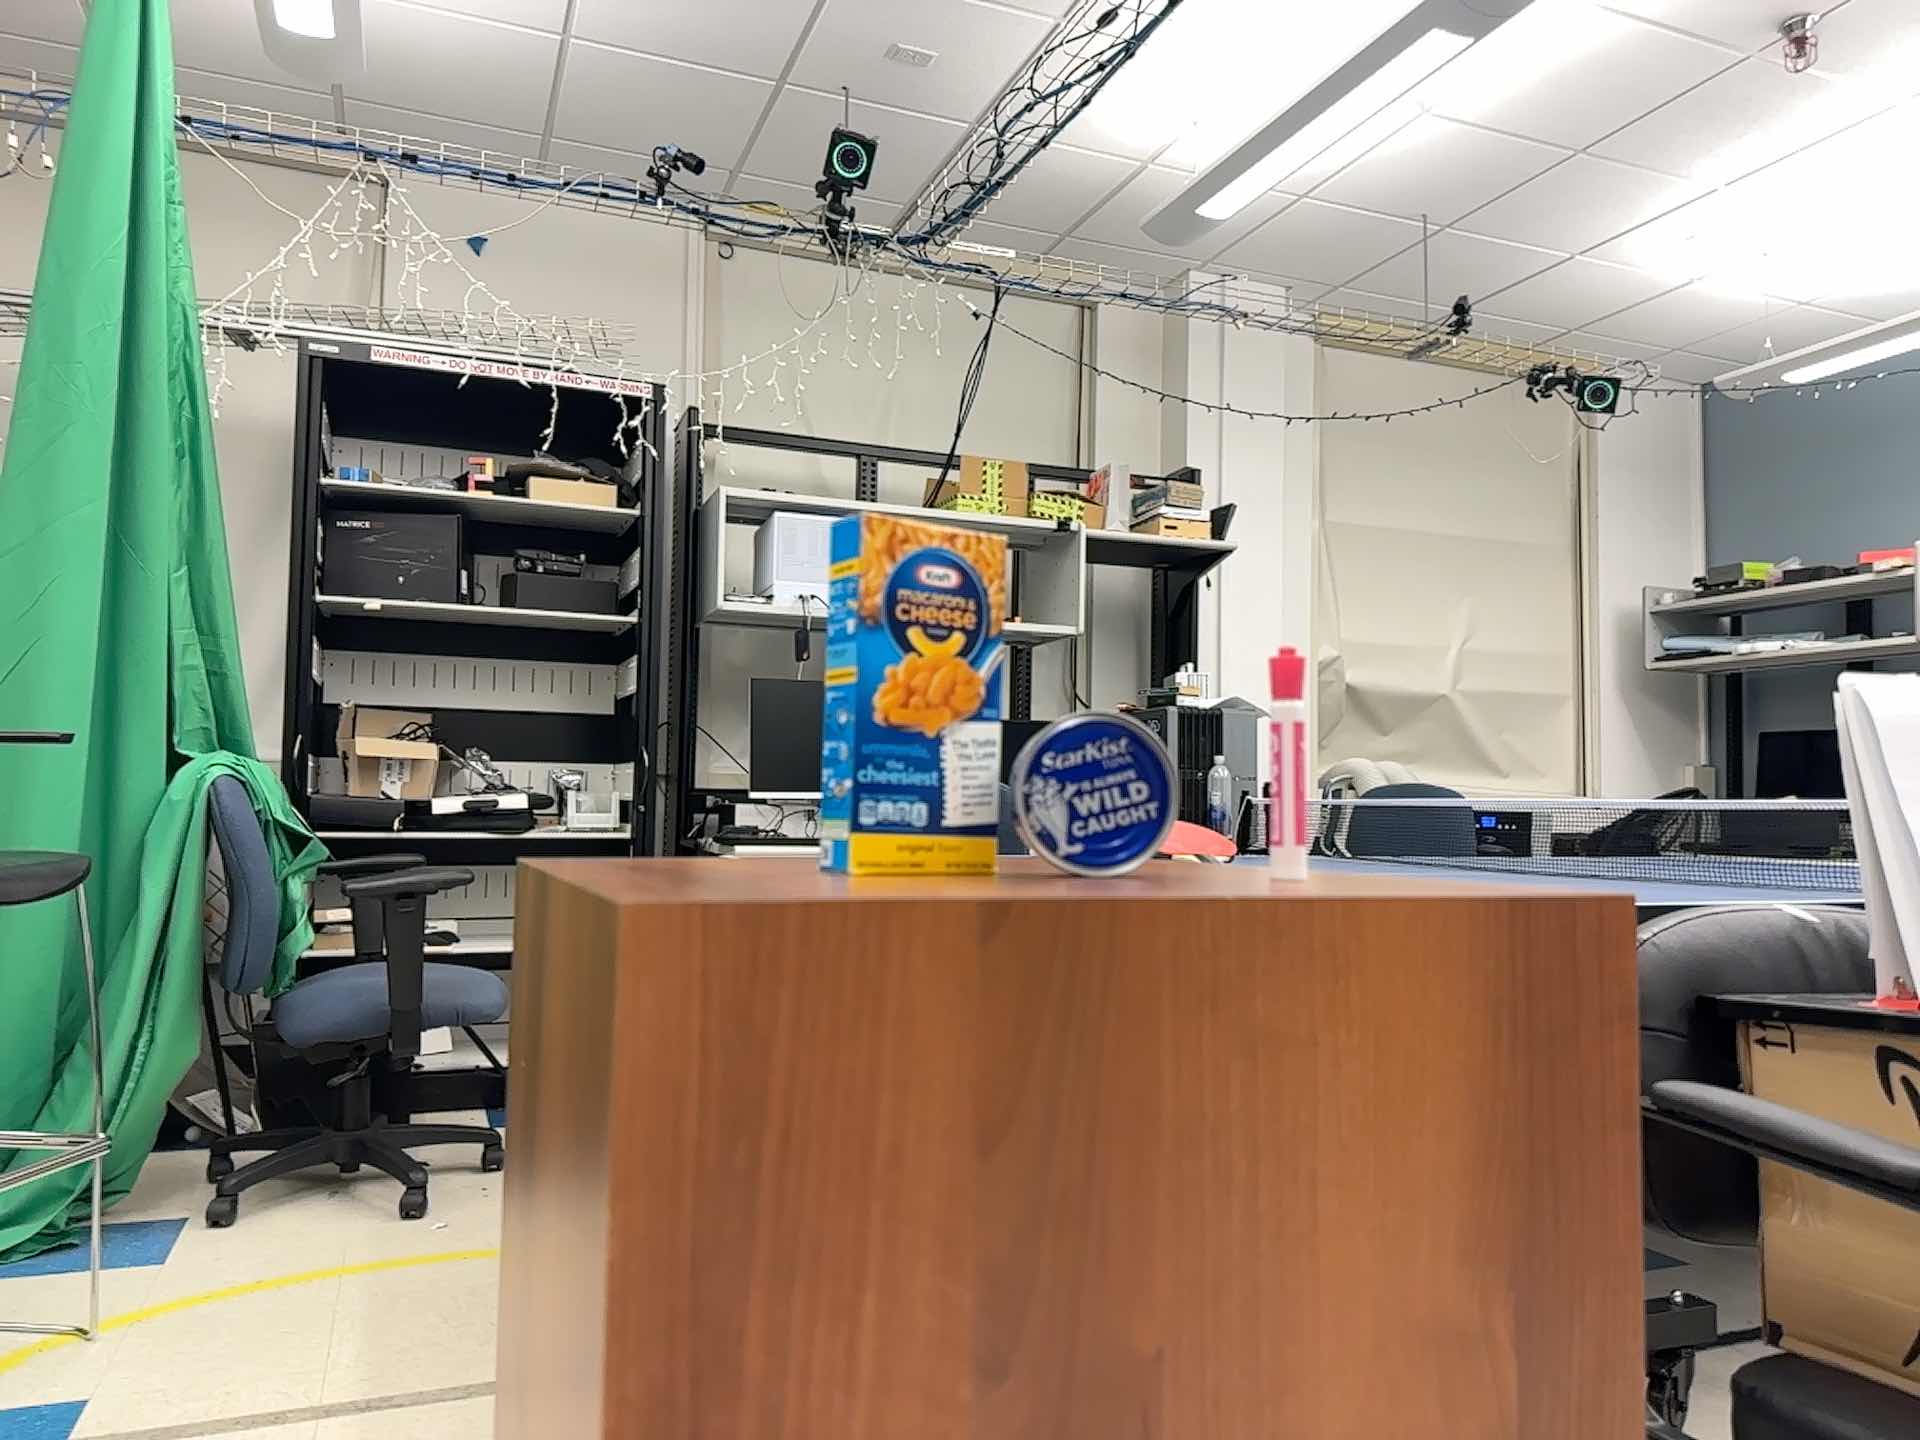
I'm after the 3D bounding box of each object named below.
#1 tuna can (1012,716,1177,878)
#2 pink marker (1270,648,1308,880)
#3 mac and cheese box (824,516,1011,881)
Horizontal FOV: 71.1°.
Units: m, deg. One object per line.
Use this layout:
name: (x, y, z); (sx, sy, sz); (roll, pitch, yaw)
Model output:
tuna can: (0.070, 0.040, 0.714); (0.083, 0.083, 0.034); (1, -3, -4)
pink marker: (0.173, 0.023, 0.708); (0.020, 0.121, 0.020); (0, -2, 0)
mac and cheese box: (-0.022, -0.010, 0.708); (0.088, 0.181, 0.035); (2, -2, -30)
